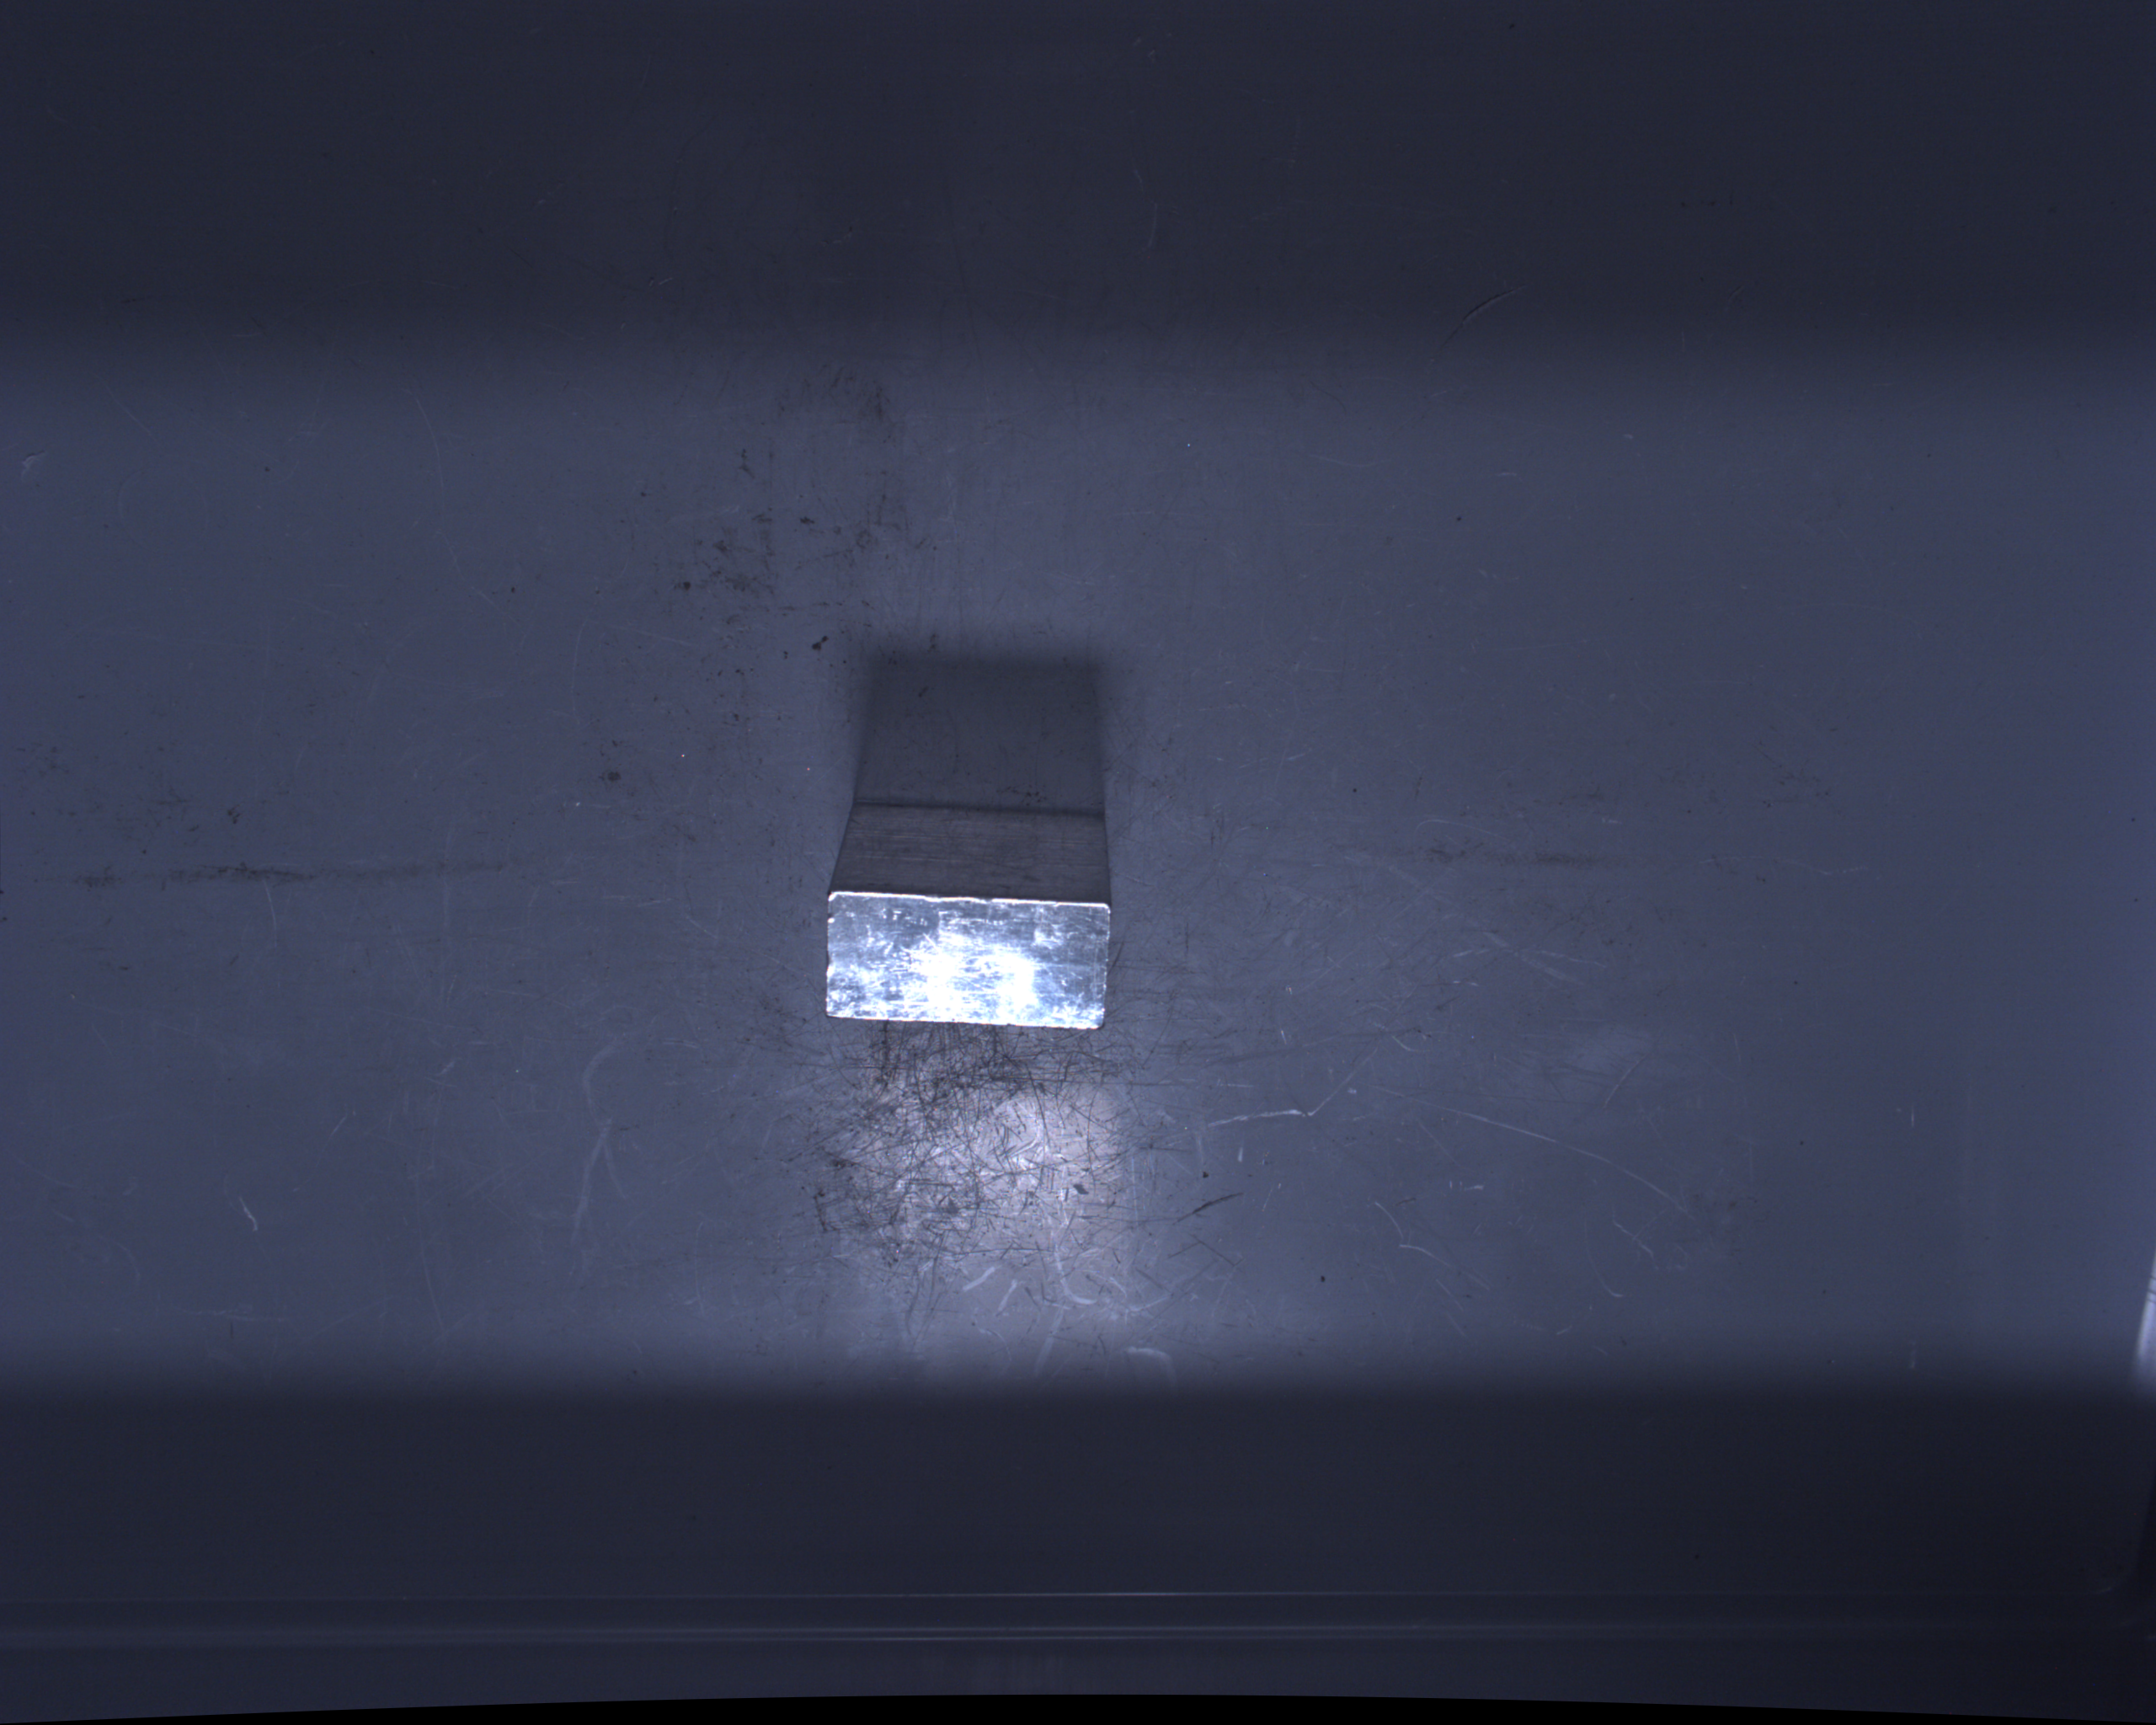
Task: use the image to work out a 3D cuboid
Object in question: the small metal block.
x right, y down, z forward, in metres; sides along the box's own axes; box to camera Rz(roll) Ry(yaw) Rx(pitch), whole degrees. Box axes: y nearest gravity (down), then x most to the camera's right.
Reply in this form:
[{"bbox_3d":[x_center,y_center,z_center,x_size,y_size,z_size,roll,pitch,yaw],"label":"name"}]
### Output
[{"bbox_3d":[-0.020,0.009,0.397,0.050,0.050,0.025,3,110,-2],"label":"small metal block"}]
